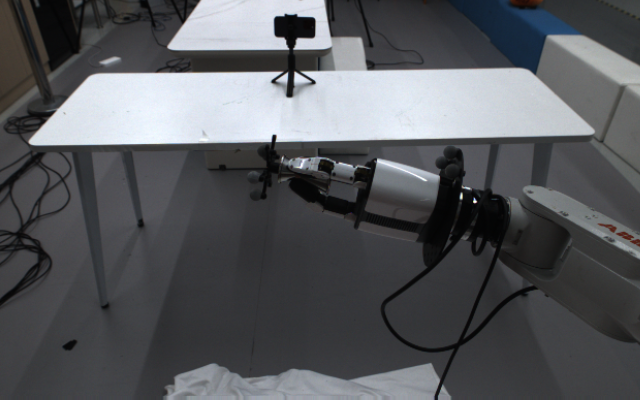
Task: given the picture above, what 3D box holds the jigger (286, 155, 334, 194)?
[{"bbox_3d":[-0.012,-0.039,0.645,0.071,0.043,0.043,11,35,3],"label":"jigger"}]
